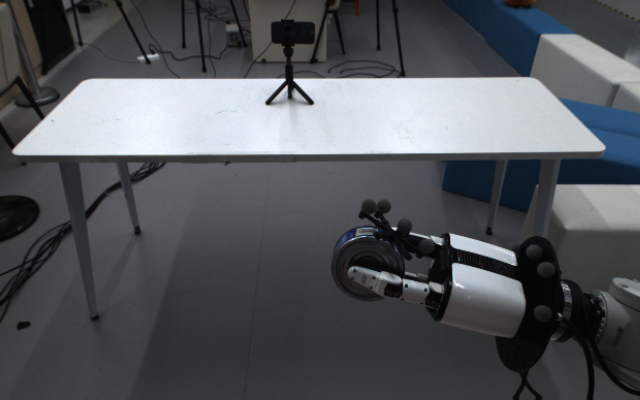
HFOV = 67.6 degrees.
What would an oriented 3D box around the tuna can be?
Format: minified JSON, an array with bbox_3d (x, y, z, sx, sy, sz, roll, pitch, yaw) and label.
[{"bbox_3d":[0.060,0.081,0.563,0.085,0.085,0.034,7,19,6],"label":"tuna can"}]
